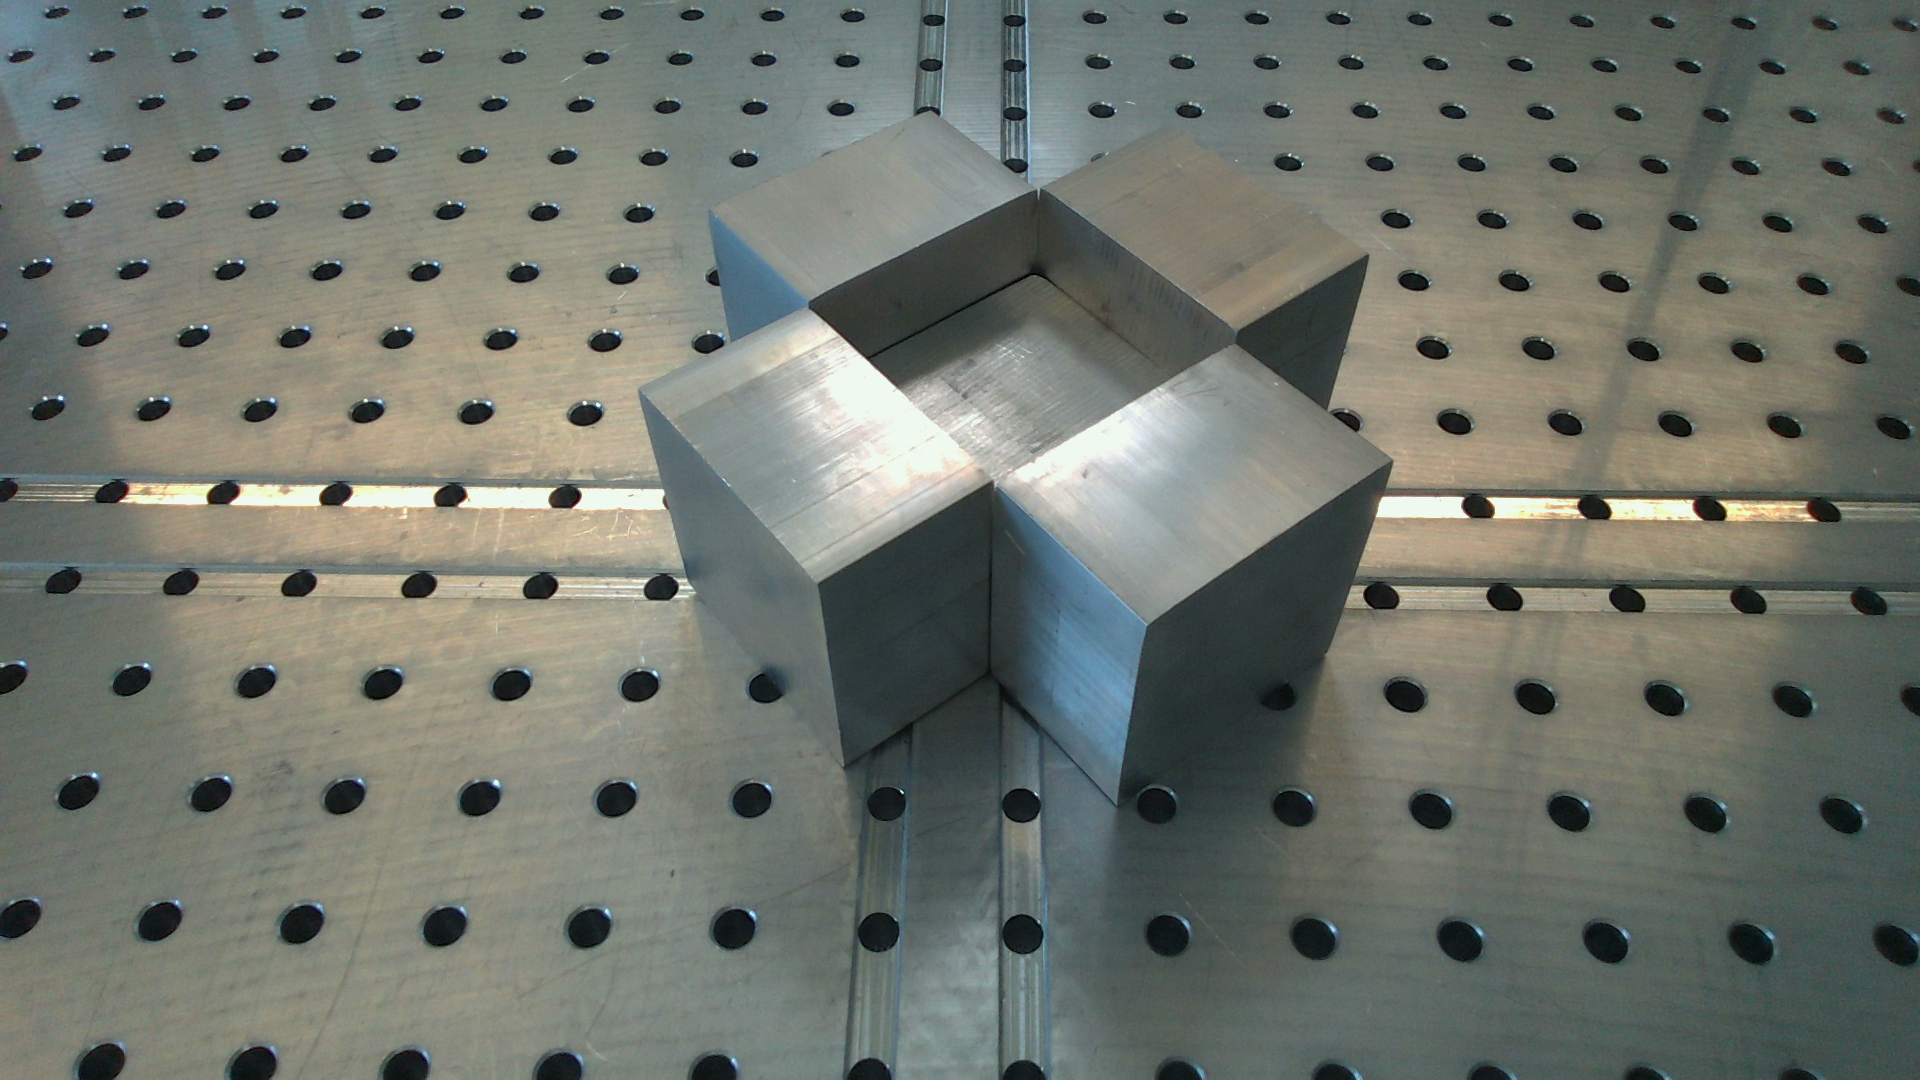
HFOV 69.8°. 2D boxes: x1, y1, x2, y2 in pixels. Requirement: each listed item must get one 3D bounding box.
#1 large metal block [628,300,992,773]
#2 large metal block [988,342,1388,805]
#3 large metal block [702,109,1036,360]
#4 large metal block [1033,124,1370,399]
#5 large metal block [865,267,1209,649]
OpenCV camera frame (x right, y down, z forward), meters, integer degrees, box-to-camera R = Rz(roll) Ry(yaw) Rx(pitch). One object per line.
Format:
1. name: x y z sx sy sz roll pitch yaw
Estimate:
1. large metal block: -0.037 -0.001 0.359 0.050 0.080 0.080 -31 57 -24
2. large metal block: 0.054 0.009 0.353 0.080 0.080 0.050 -30 56 -23
3. large metal block: -0.025 -0.071 0.419 0.080 0.080 0.050 -31 56 -24
4. large metal block: 0.066 -0.063 0.412 0.050 0.080 0.080 -31 57 -24
5. large metal block: 0.016 -0.023 0.396 0.080 0.050 0.080 -32 56 -22
